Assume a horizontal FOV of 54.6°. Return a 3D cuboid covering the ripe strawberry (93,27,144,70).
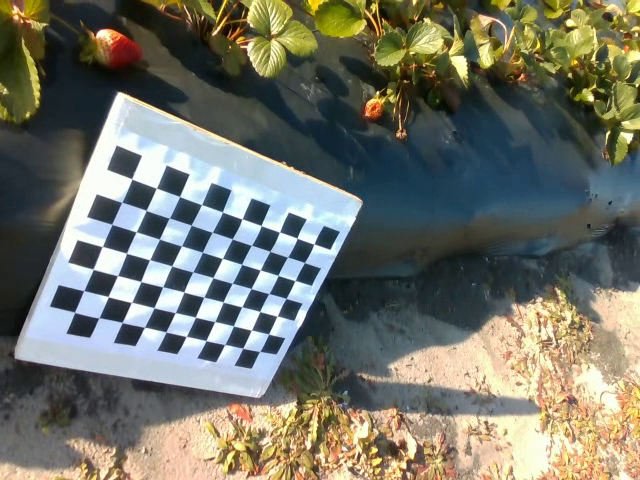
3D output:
[{"bbox_3d":[-0.209,-0.202,0.647,0.063,0.045,0.043,0,23,-33],"label":"ripe strawberry"}]
